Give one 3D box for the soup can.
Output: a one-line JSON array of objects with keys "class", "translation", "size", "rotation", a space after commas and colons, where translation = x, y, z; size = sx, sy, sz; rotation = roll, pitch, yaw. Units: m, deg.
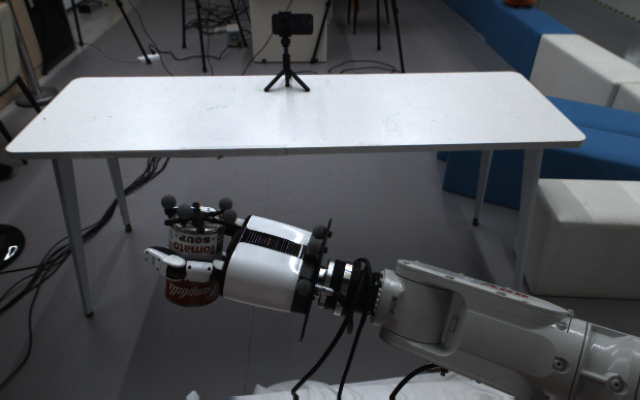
[{"class": "soup can", "translation": [-0.155, 0.073, 0.603], "size": [0.067, 0.101, 0.067], "rotation": [8, 19, -3]}]
